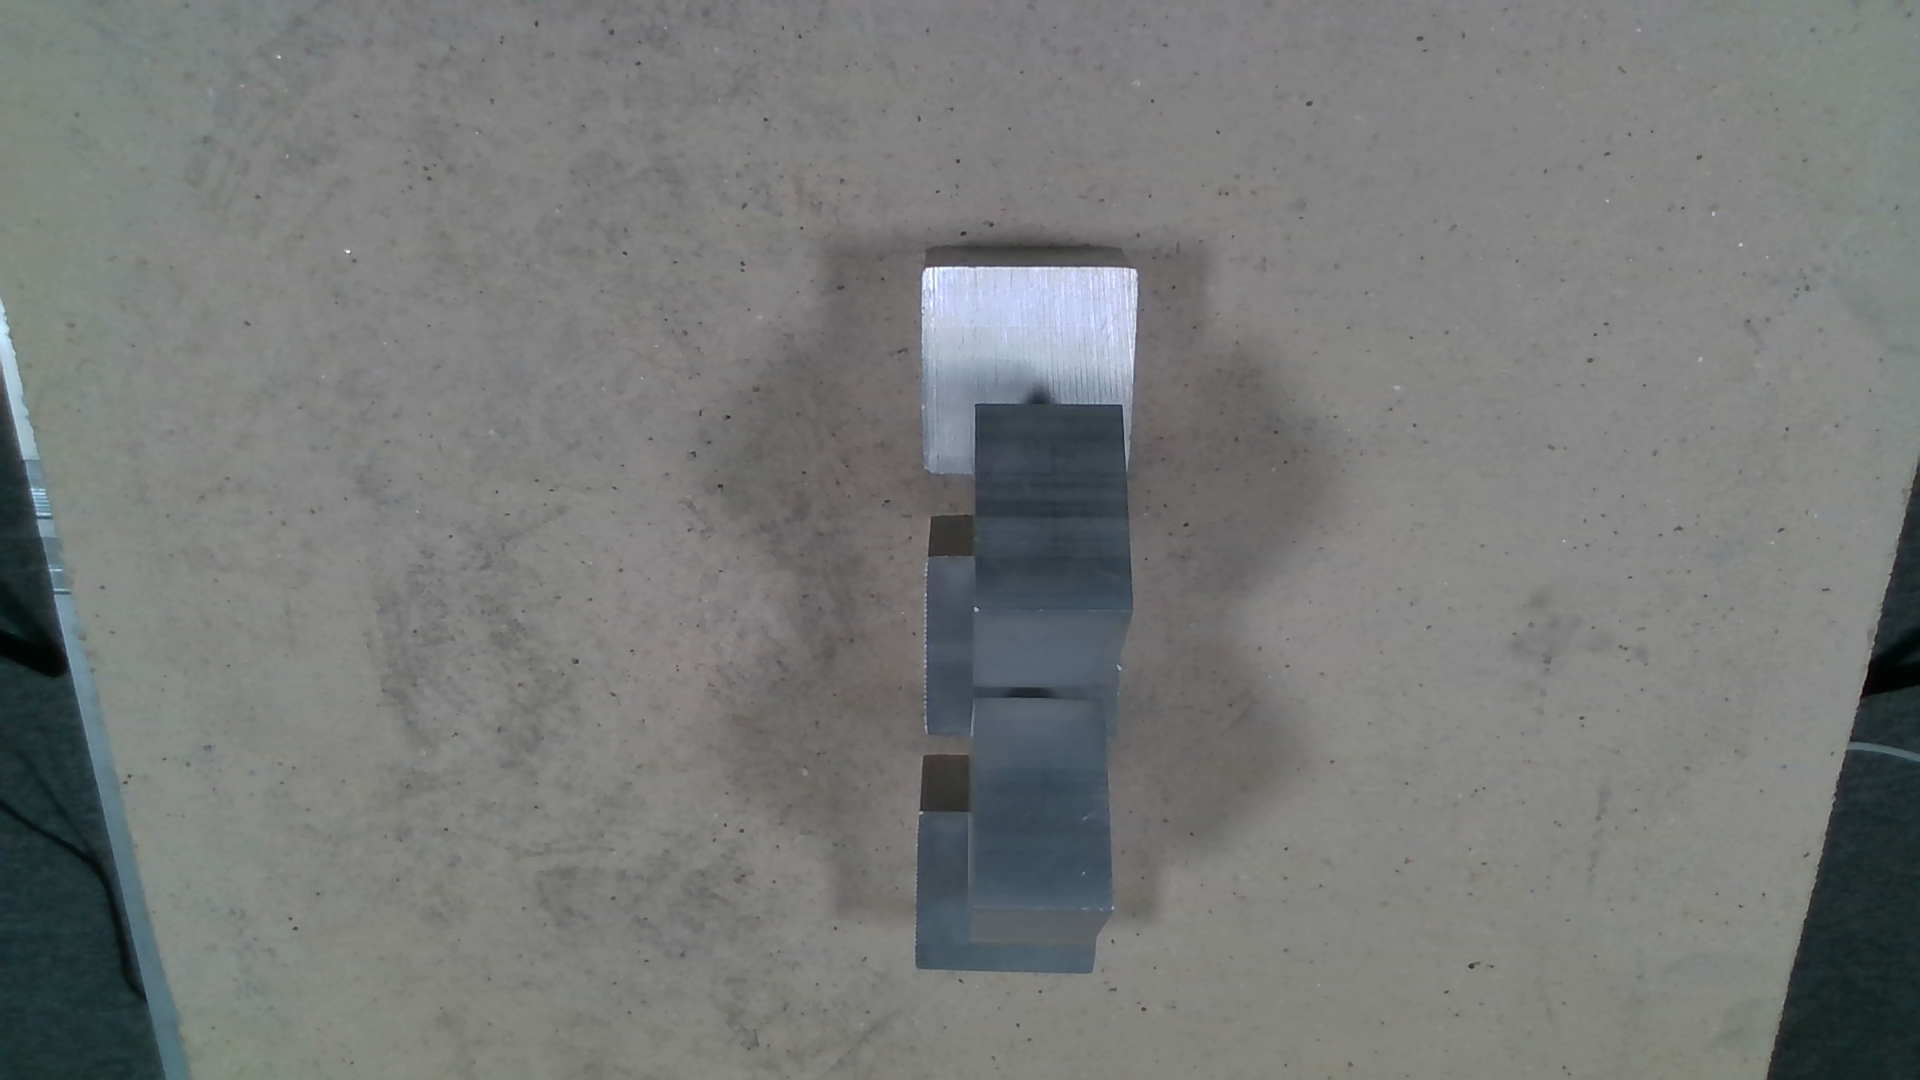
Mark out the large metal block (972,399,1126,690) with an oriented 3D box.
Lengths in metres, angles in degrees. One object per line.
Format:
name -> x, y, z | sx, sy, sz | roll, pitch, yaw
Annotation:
large metal block -> 0.030, 0.004, 0.504 | 0.050, 0.080, 0.080 | 0, 155, 1

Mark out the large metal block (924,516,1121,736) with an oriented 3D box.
large metal block -> 0.026, 0.035, 0.585 | 0.080, 0.050, 0.080 | 1, 110, 0

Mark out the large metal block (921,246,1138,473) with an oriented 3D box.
large metal block -> 0.026, -0.072, 0.545 | 0.080, 0.050, 0.080 | 0, 110, 0

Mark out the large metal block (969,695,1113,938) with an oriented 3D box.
large metal block -> 0.030, 0.112, 0.546 | 0.050, 0.080, 0.080 | 1, 66, -1

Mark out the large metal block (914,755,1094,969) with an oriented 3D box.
large metal block -> 0.020, 0.145, 0.626 | 0.080, 0.050, 0.080 | 1, 110, 0
